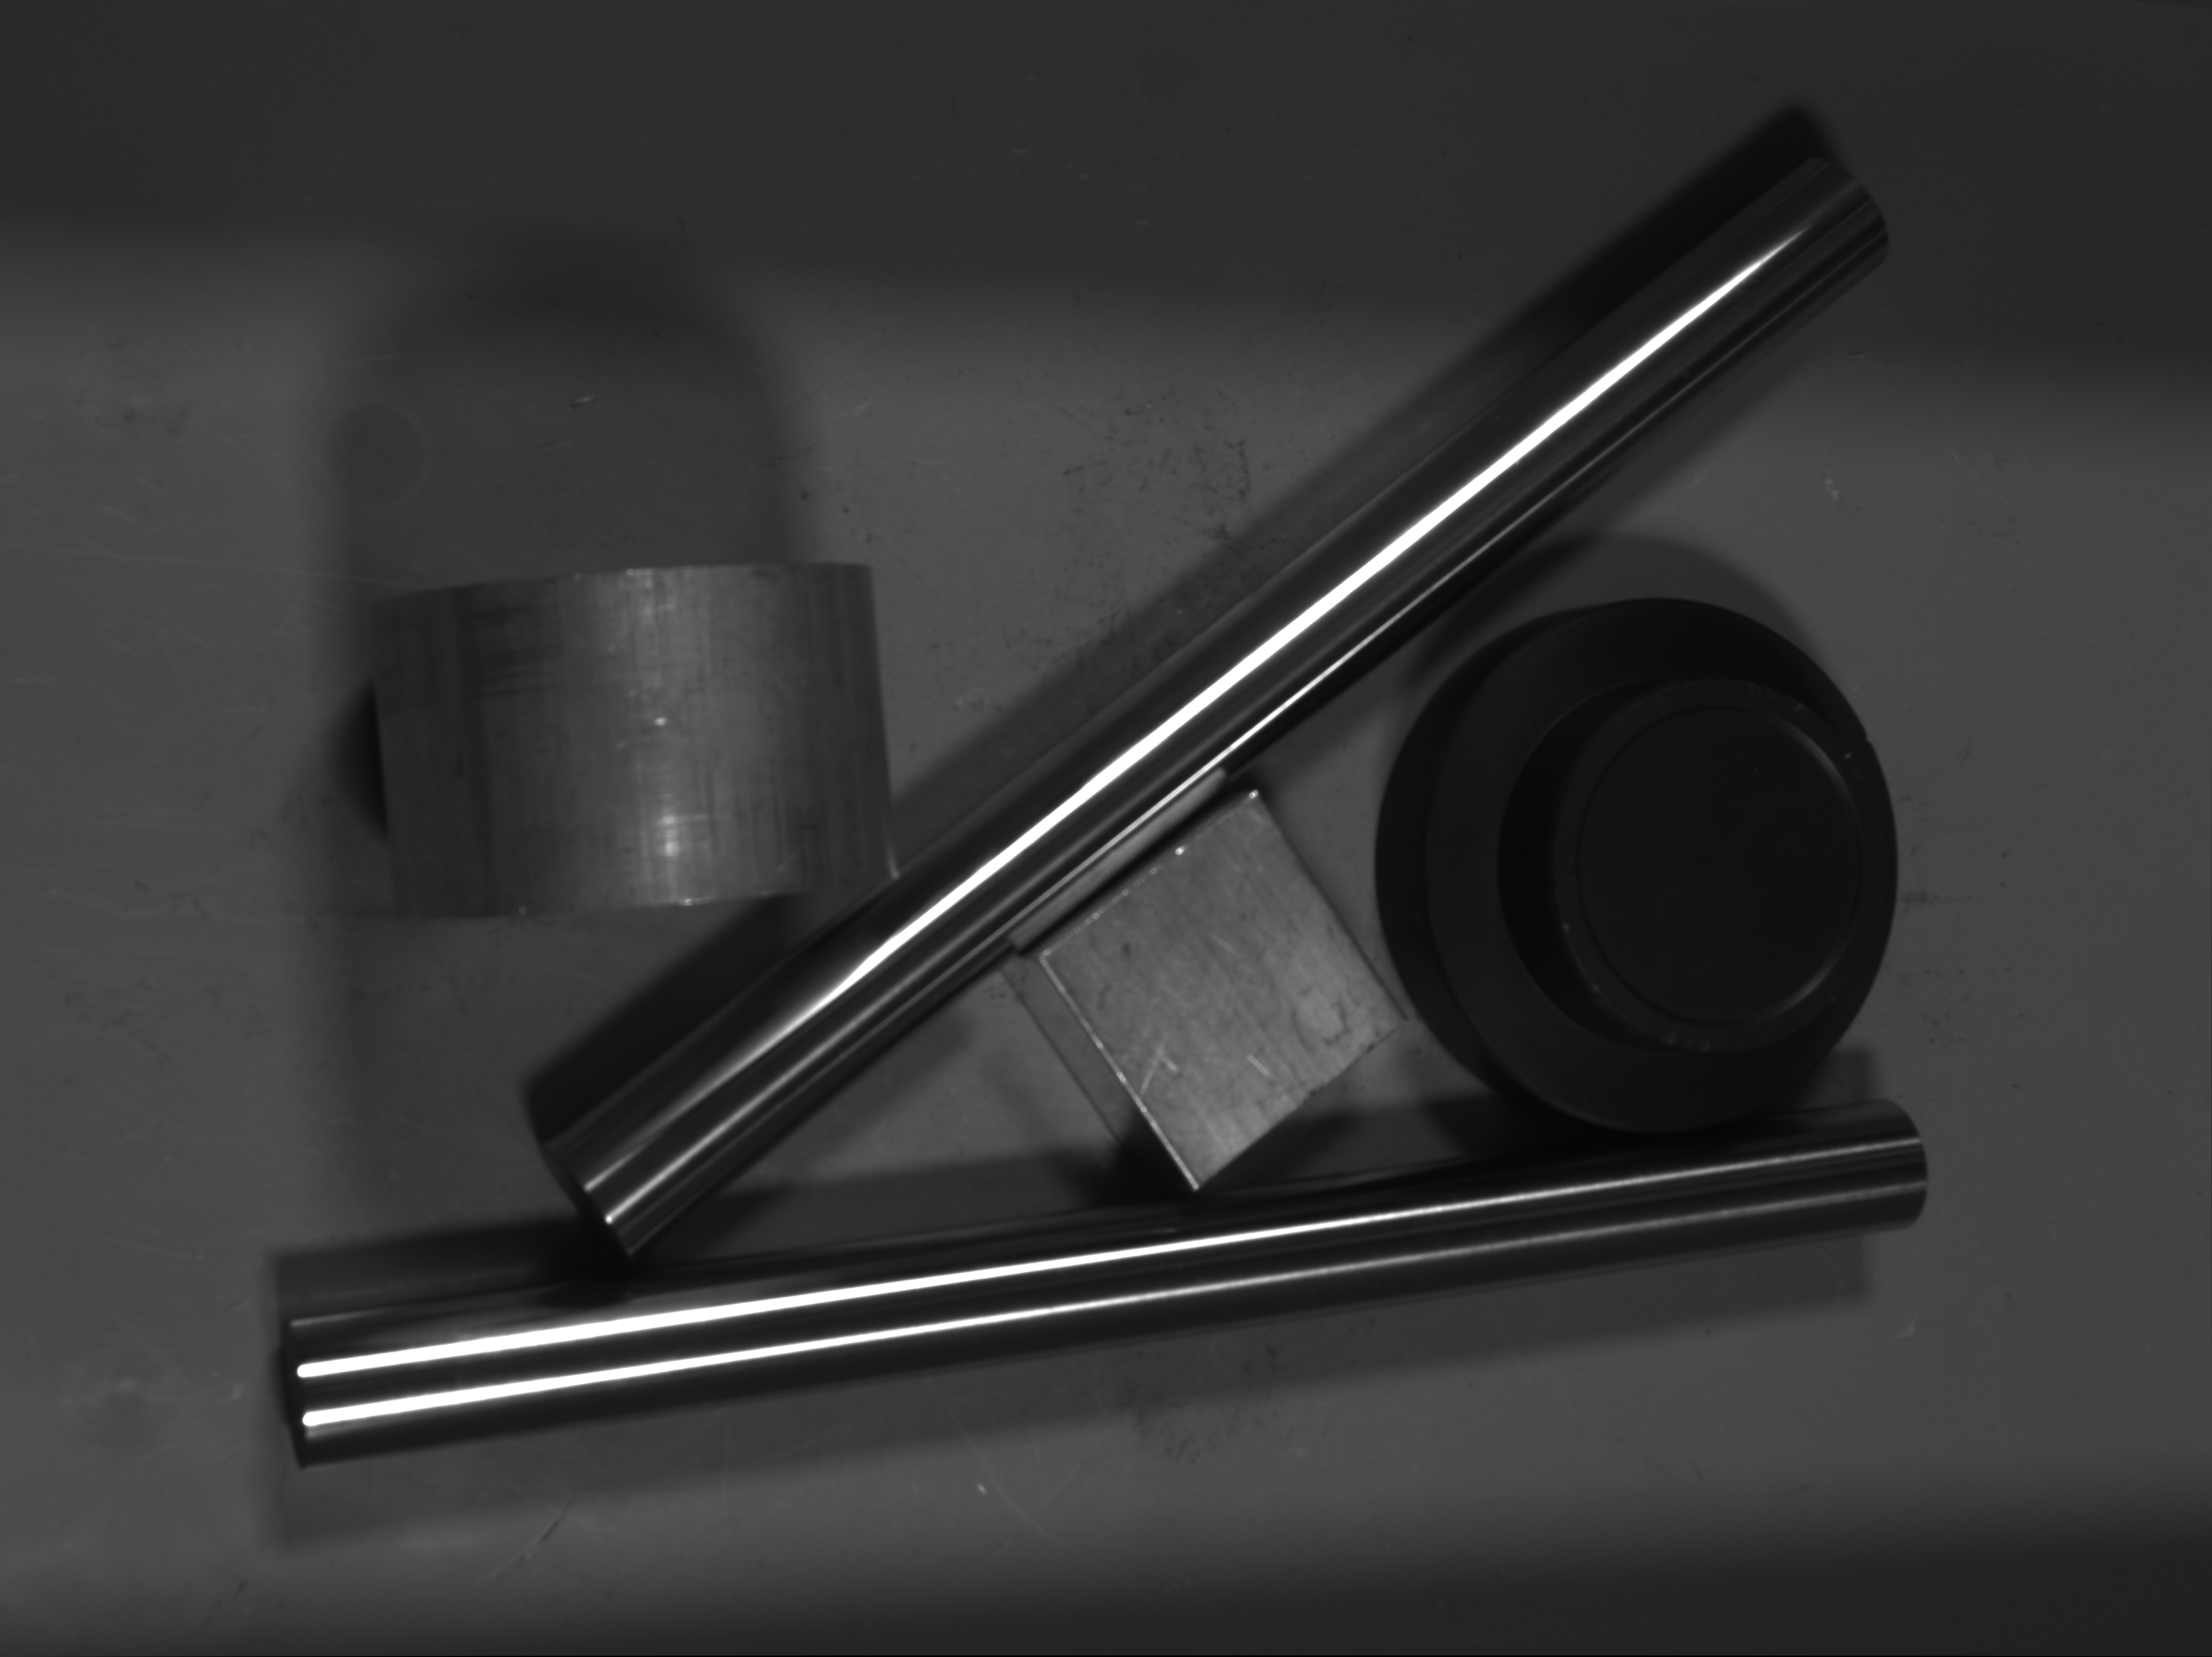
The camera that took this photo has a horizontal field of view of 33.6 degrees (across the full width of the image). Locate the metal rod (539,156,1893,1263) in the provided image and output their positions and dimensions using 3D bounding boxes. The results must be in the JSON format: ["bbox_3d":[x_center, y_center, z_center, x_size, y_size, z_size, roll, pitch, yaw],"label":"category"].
[{"bbox_3d":[0.026,-0.027,0.652,0.300,0.025,0.025,-38,102,-16],"label":"metal rod"}]

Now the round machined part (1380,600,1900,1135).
[{"bbox_3d":[0.103,0.007,0.669,0.098,0.042,0.098,0,90,-20],"label":"round machined part"}]

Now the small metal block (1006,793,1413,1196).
[{"bbox_3d":[0.017,0.029,0.648,0.050,0.025,0.050,-37,102,-16],"label":"small metal block"}]

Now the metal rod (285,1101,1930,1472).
[{"bbox_3d":[0.009,0.078,0.645,0.301,0.025,0.025,-6,92,-20],"label":"metal rod"}]

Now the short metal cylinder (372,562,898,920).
[{"bbox_3d":[-0.075,-0.014,0.586,0.080,0.080,0.050,-5,92,-20],"label":"short metal cylinder"}]
